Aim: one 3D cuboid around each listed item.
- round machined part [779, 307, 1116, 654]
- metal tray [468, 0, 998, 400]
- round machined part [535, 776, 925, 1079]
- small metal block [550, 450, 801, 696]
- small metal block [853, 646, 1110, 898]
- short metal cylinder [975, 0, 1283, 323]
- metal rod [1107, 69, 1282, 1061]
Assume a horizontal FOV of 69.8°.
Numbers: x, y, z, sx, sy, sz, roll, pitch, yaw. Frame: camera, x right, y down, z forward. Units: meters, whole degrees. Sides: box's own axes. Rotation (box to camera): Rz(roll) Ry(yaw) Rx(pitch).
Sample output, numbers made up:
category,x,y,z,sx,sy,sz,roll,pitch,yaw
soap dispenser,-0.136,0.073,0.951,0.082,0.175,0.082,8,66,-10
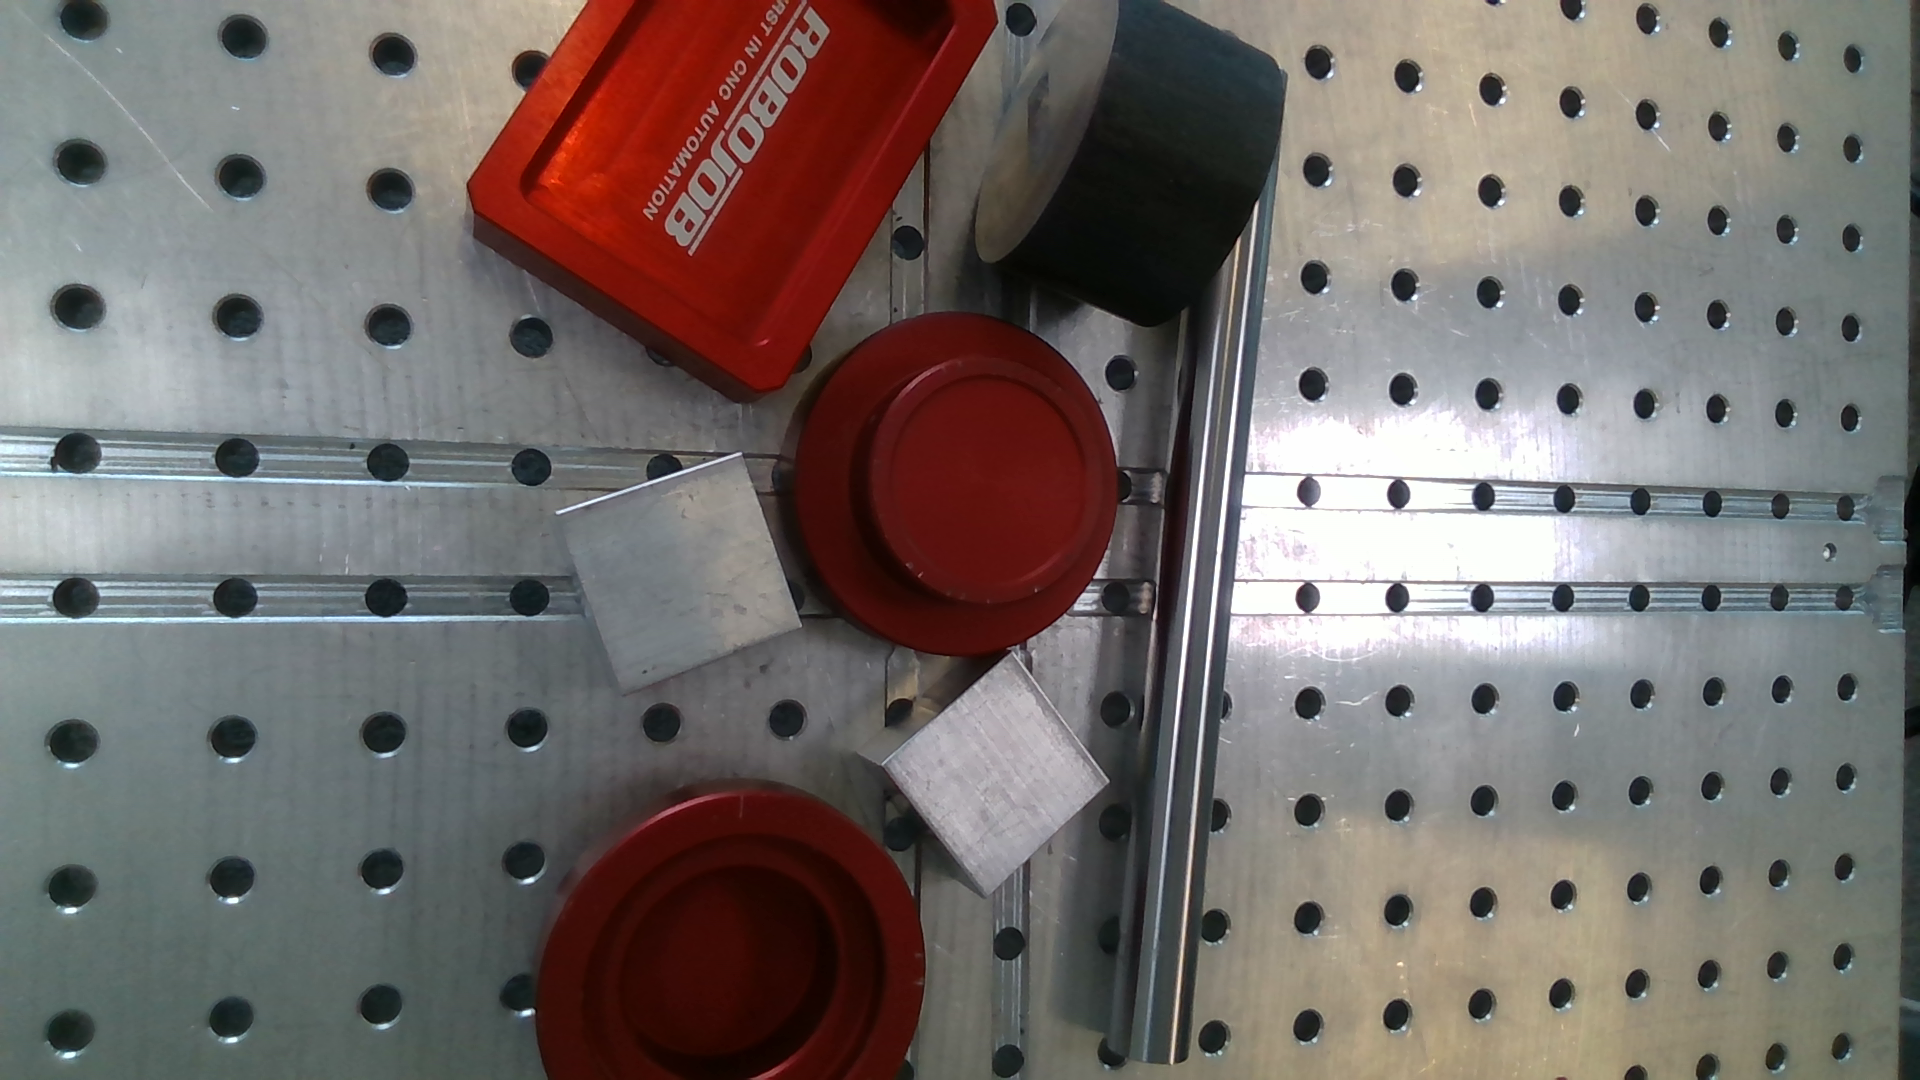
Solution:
category,x,y,z,sx,sy,sz,roll,pitch,yaw
round machined part,0.002,-0.017,0.388,0.098,0.042,0.098,0,90,-23
metal tray,-0.059,-0.116,0.371,0.090,0.030,0.130,32,79,-17
round machined part,-0.062,0.112,0.365,0.098,0.042,0.098,0,90,-20
small metal block,-0.077,0.008,0.369,0.050,0.025,0.050,-20,97,-19
small metal block,0.006,0.066,0.399,0.050,0.025,0.050,-40,103,-16
short metal cylinder,0.045,-0.107,0.383,0.050,0.080,0.080,19,84,-19
metal rod,0.072,0.005,0.423,0.025,0.025,0.300,7,88,-20
